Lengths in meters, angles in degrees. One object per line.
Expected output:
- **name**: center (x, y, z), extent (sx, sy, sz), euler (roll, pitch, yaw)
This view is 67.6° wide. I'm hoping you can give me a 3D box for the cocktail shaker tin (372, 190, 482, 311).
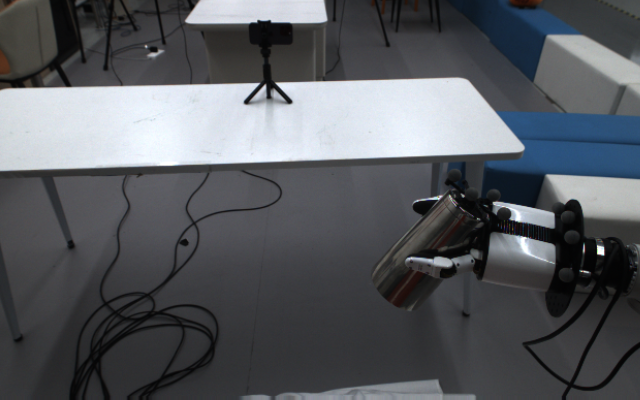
- **cocktail shaker tin**: center (0.157, 0.062, 0.684), extent (0.093, 0.170, 0.093), euler (26, 32, -18)
